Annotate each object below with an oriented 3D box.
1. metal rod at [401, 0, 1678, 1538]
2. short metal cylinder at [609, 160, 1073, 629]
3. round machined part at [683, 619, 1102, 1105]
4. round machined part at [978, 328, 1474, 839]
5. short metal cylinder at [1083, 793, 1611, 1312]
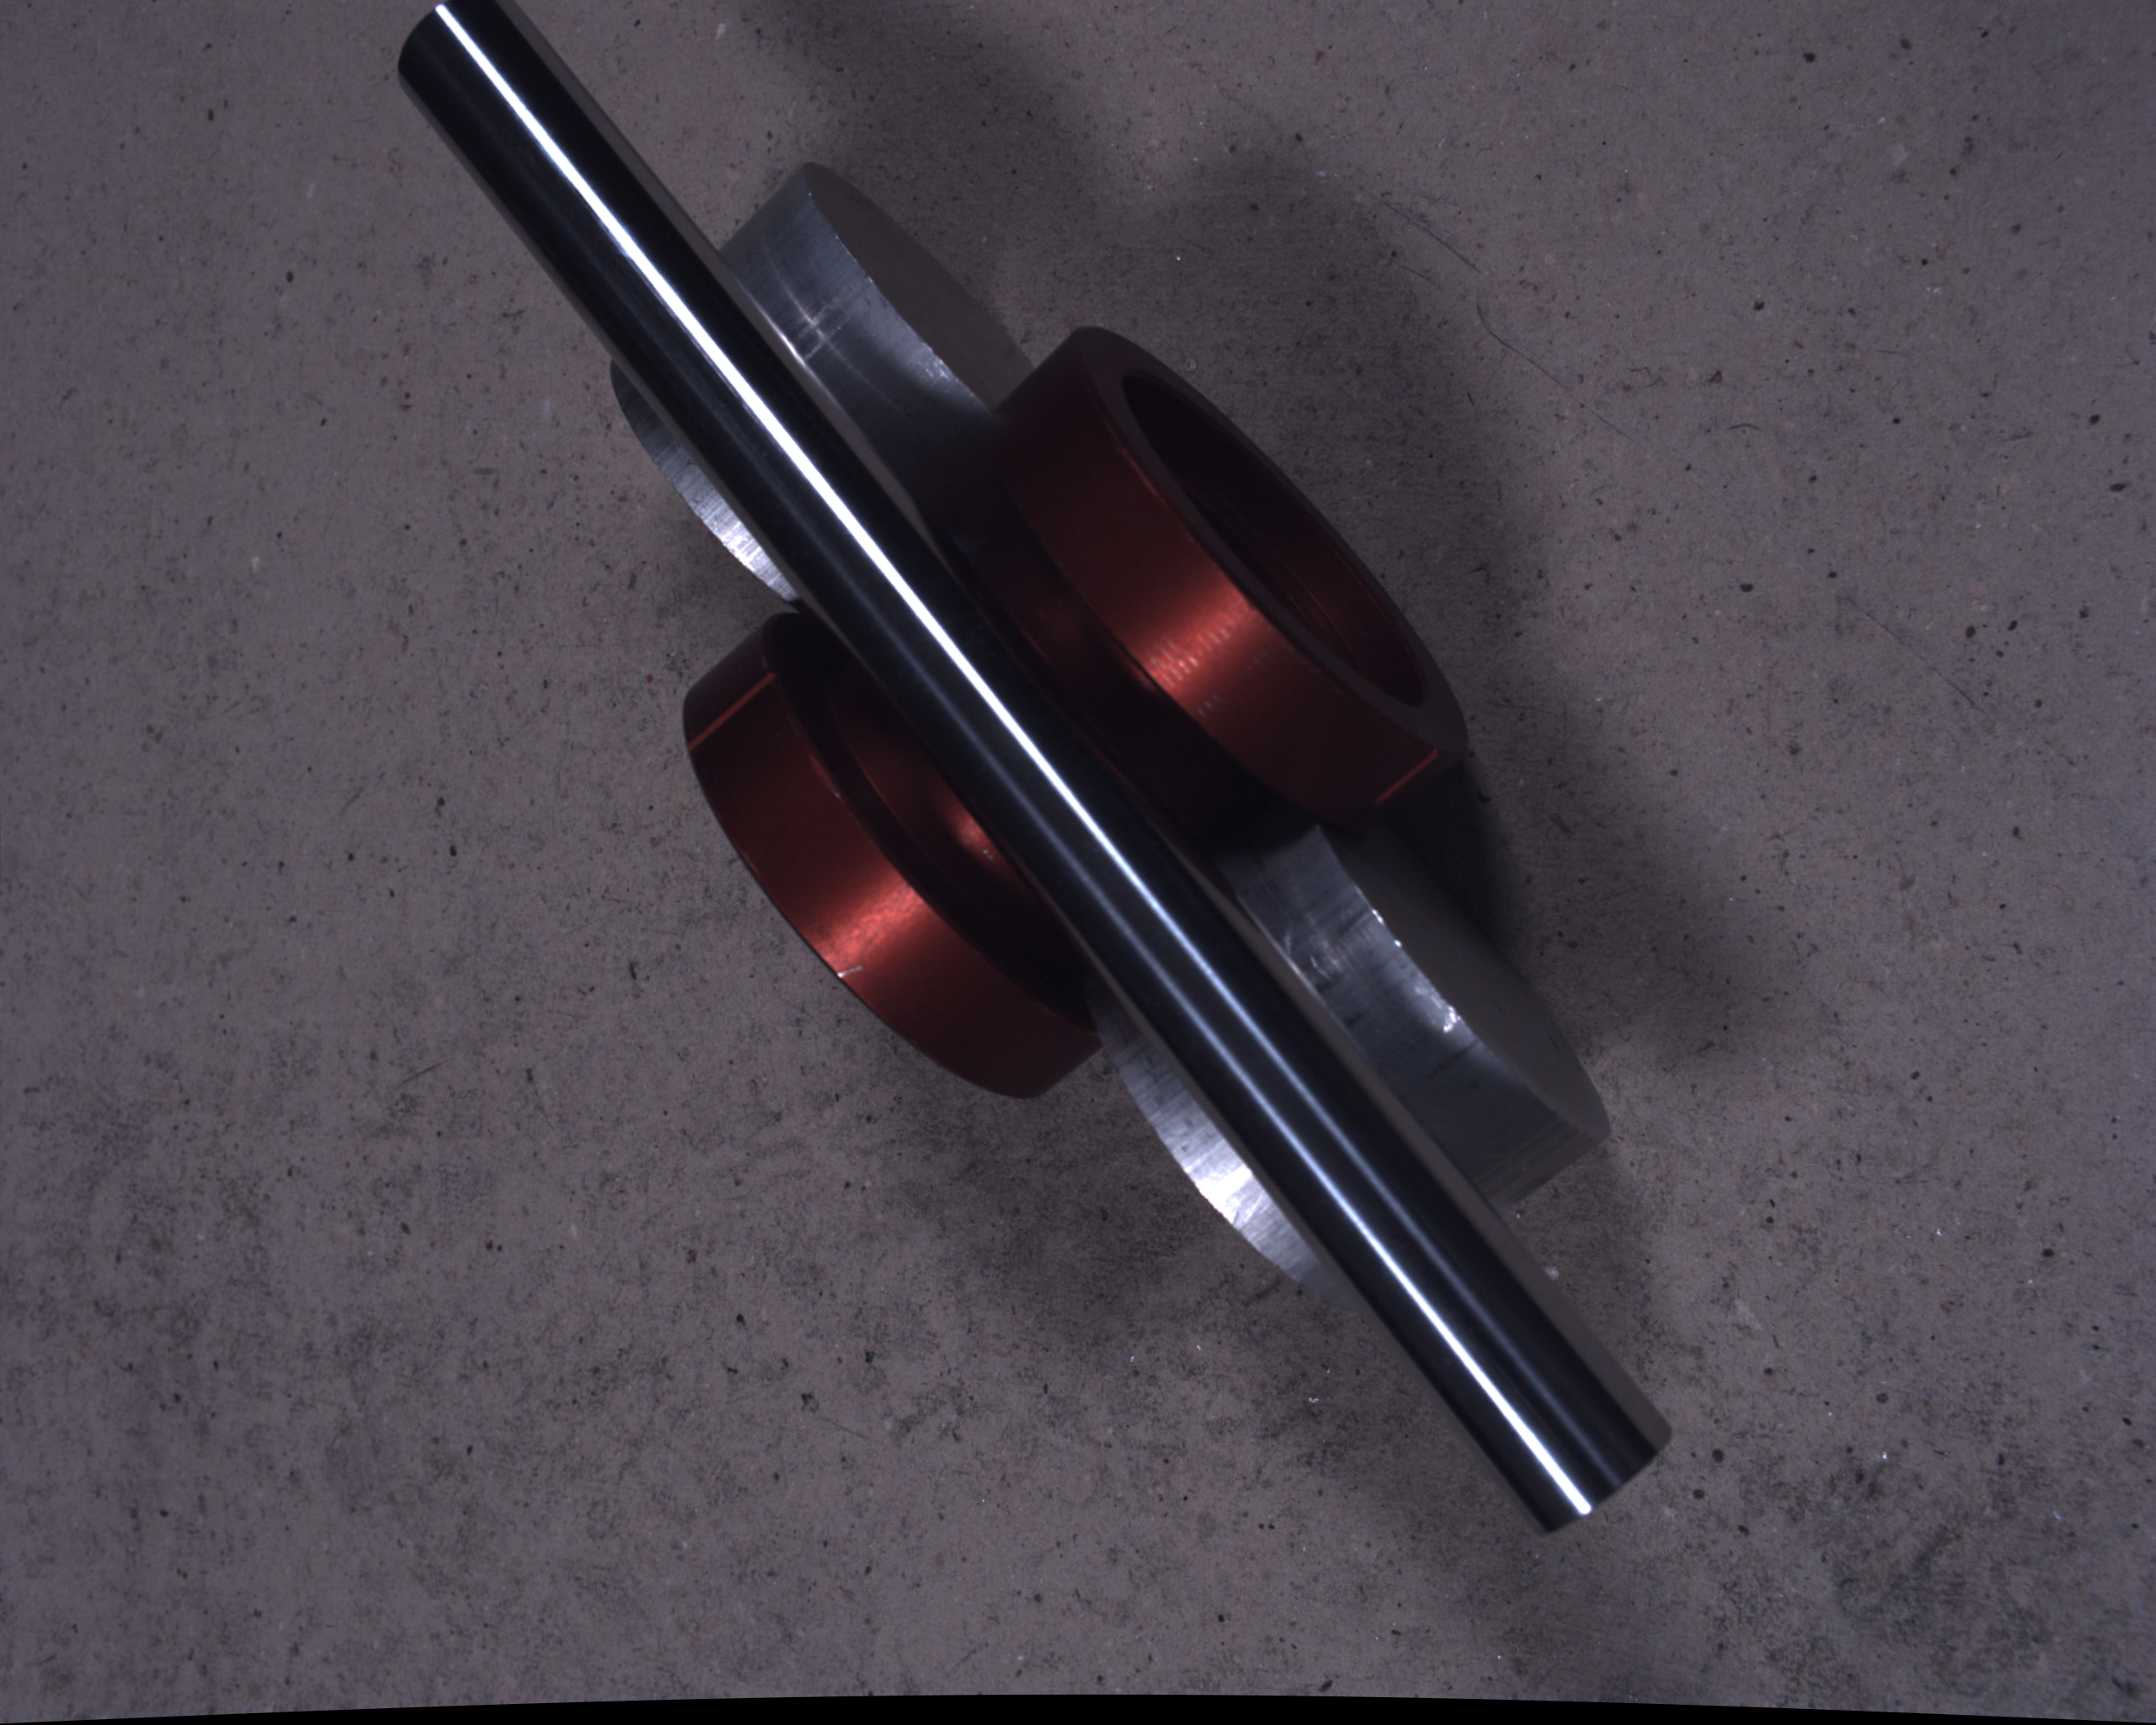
[{"bbox_3d":[-0.015,-0.026,0.330,0.025,0.025,0.300,-42,77,15],"label":"metal rod"},{"bbox_3d":[-0.041,-0.084,0.394,0.050,0.080,0.080,-41,78,15],"label":"short metal cylinder"},{"bbox_3d":[-0.021,-0.007,0.377,0.042,0.098,0.098,-40,78,11],"label":"round machined part"},{"bbox_3d":[0.021,-0.043,0.364,0.042,0.098,0.098,-42,77,20],"label":"round machined part"},{"bbox_3d":[0.047,0.030,0.364,0.050,0.080,0.080,-41,78,15],"label":"short metal cylinder"}]
